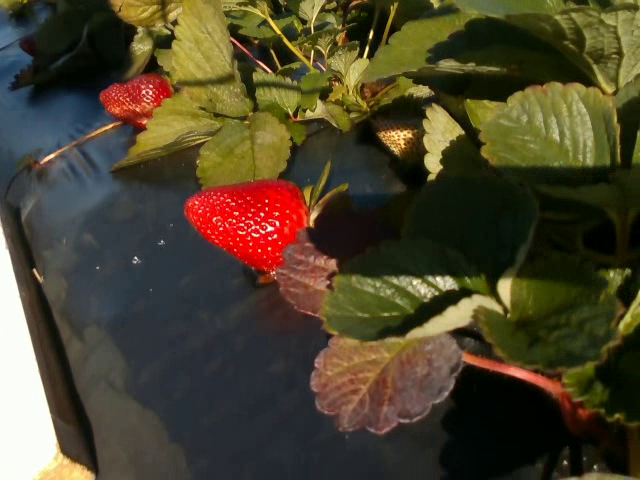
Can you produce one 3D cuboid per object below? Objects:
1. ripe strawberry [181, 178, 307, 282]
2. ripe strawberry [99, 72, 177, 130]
[{"bbox_3d":[-0.030,-0.007,0.229,0.050,0.043,0.043,15,-45,-15],"label":"ripe strawberry"},{"bbox_3d":[-0.118,-0.091,0.396,0.053,0.043,0.042,1,33,-26],"label":"ripe strawberry"}]
